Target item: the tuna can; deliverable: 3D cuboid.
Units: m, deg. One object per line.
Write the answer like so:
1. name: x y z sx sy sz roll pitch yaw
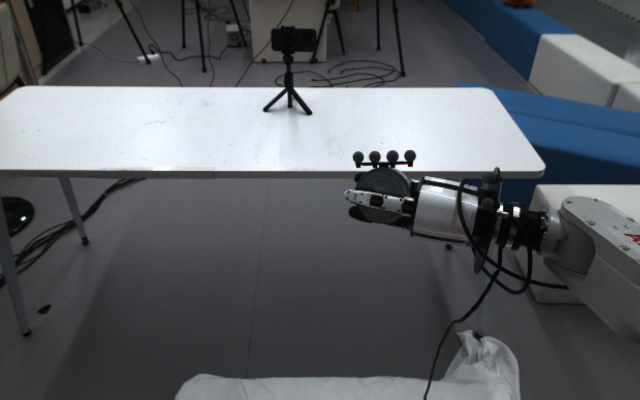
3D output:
1. tuna can: 0.099 -0.009 0.741 0.085 0.085 0.034 15 10 18
